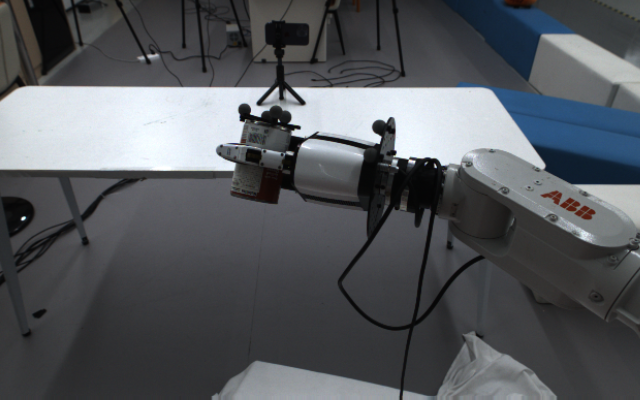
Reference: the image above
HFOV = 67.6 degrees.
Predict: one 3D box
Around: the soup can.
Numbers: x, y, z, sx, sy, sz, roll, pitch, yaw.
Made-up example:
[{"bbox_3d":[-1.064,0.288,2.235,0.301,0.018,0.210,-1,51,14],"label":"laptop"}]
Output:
[{"bbox_3d":[-0.079,-0.050,0.654,0.067,0.101,0.067,12,2,0],"label":"soup can"}]
